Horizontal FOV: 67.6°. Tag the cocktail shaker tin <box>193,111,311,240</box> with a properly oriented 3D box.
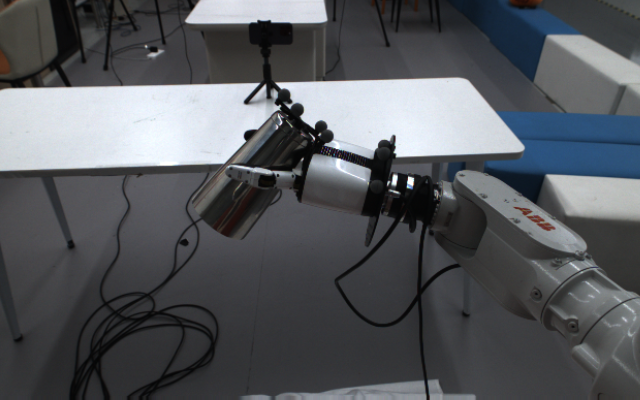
[{"bbox_3d":[-0.087,-0.041,0.669,0.093,0.170,0.093,41,12,-11],"label":"cocktail shaker tin"}]
